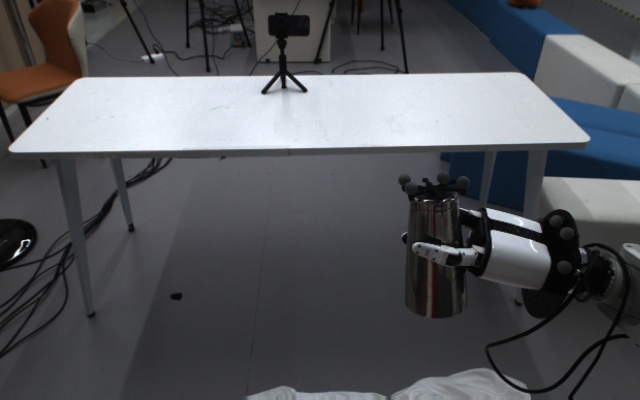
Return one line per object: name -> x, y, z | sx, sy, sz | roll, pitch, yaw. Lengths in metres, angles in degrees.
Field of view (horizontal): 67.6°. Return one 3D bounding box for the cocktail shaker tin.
cocktail shaker tin -> 0.166, 0.070, 0.695 | 0.093, 0.170, 0.093 | -6, 19, 2
